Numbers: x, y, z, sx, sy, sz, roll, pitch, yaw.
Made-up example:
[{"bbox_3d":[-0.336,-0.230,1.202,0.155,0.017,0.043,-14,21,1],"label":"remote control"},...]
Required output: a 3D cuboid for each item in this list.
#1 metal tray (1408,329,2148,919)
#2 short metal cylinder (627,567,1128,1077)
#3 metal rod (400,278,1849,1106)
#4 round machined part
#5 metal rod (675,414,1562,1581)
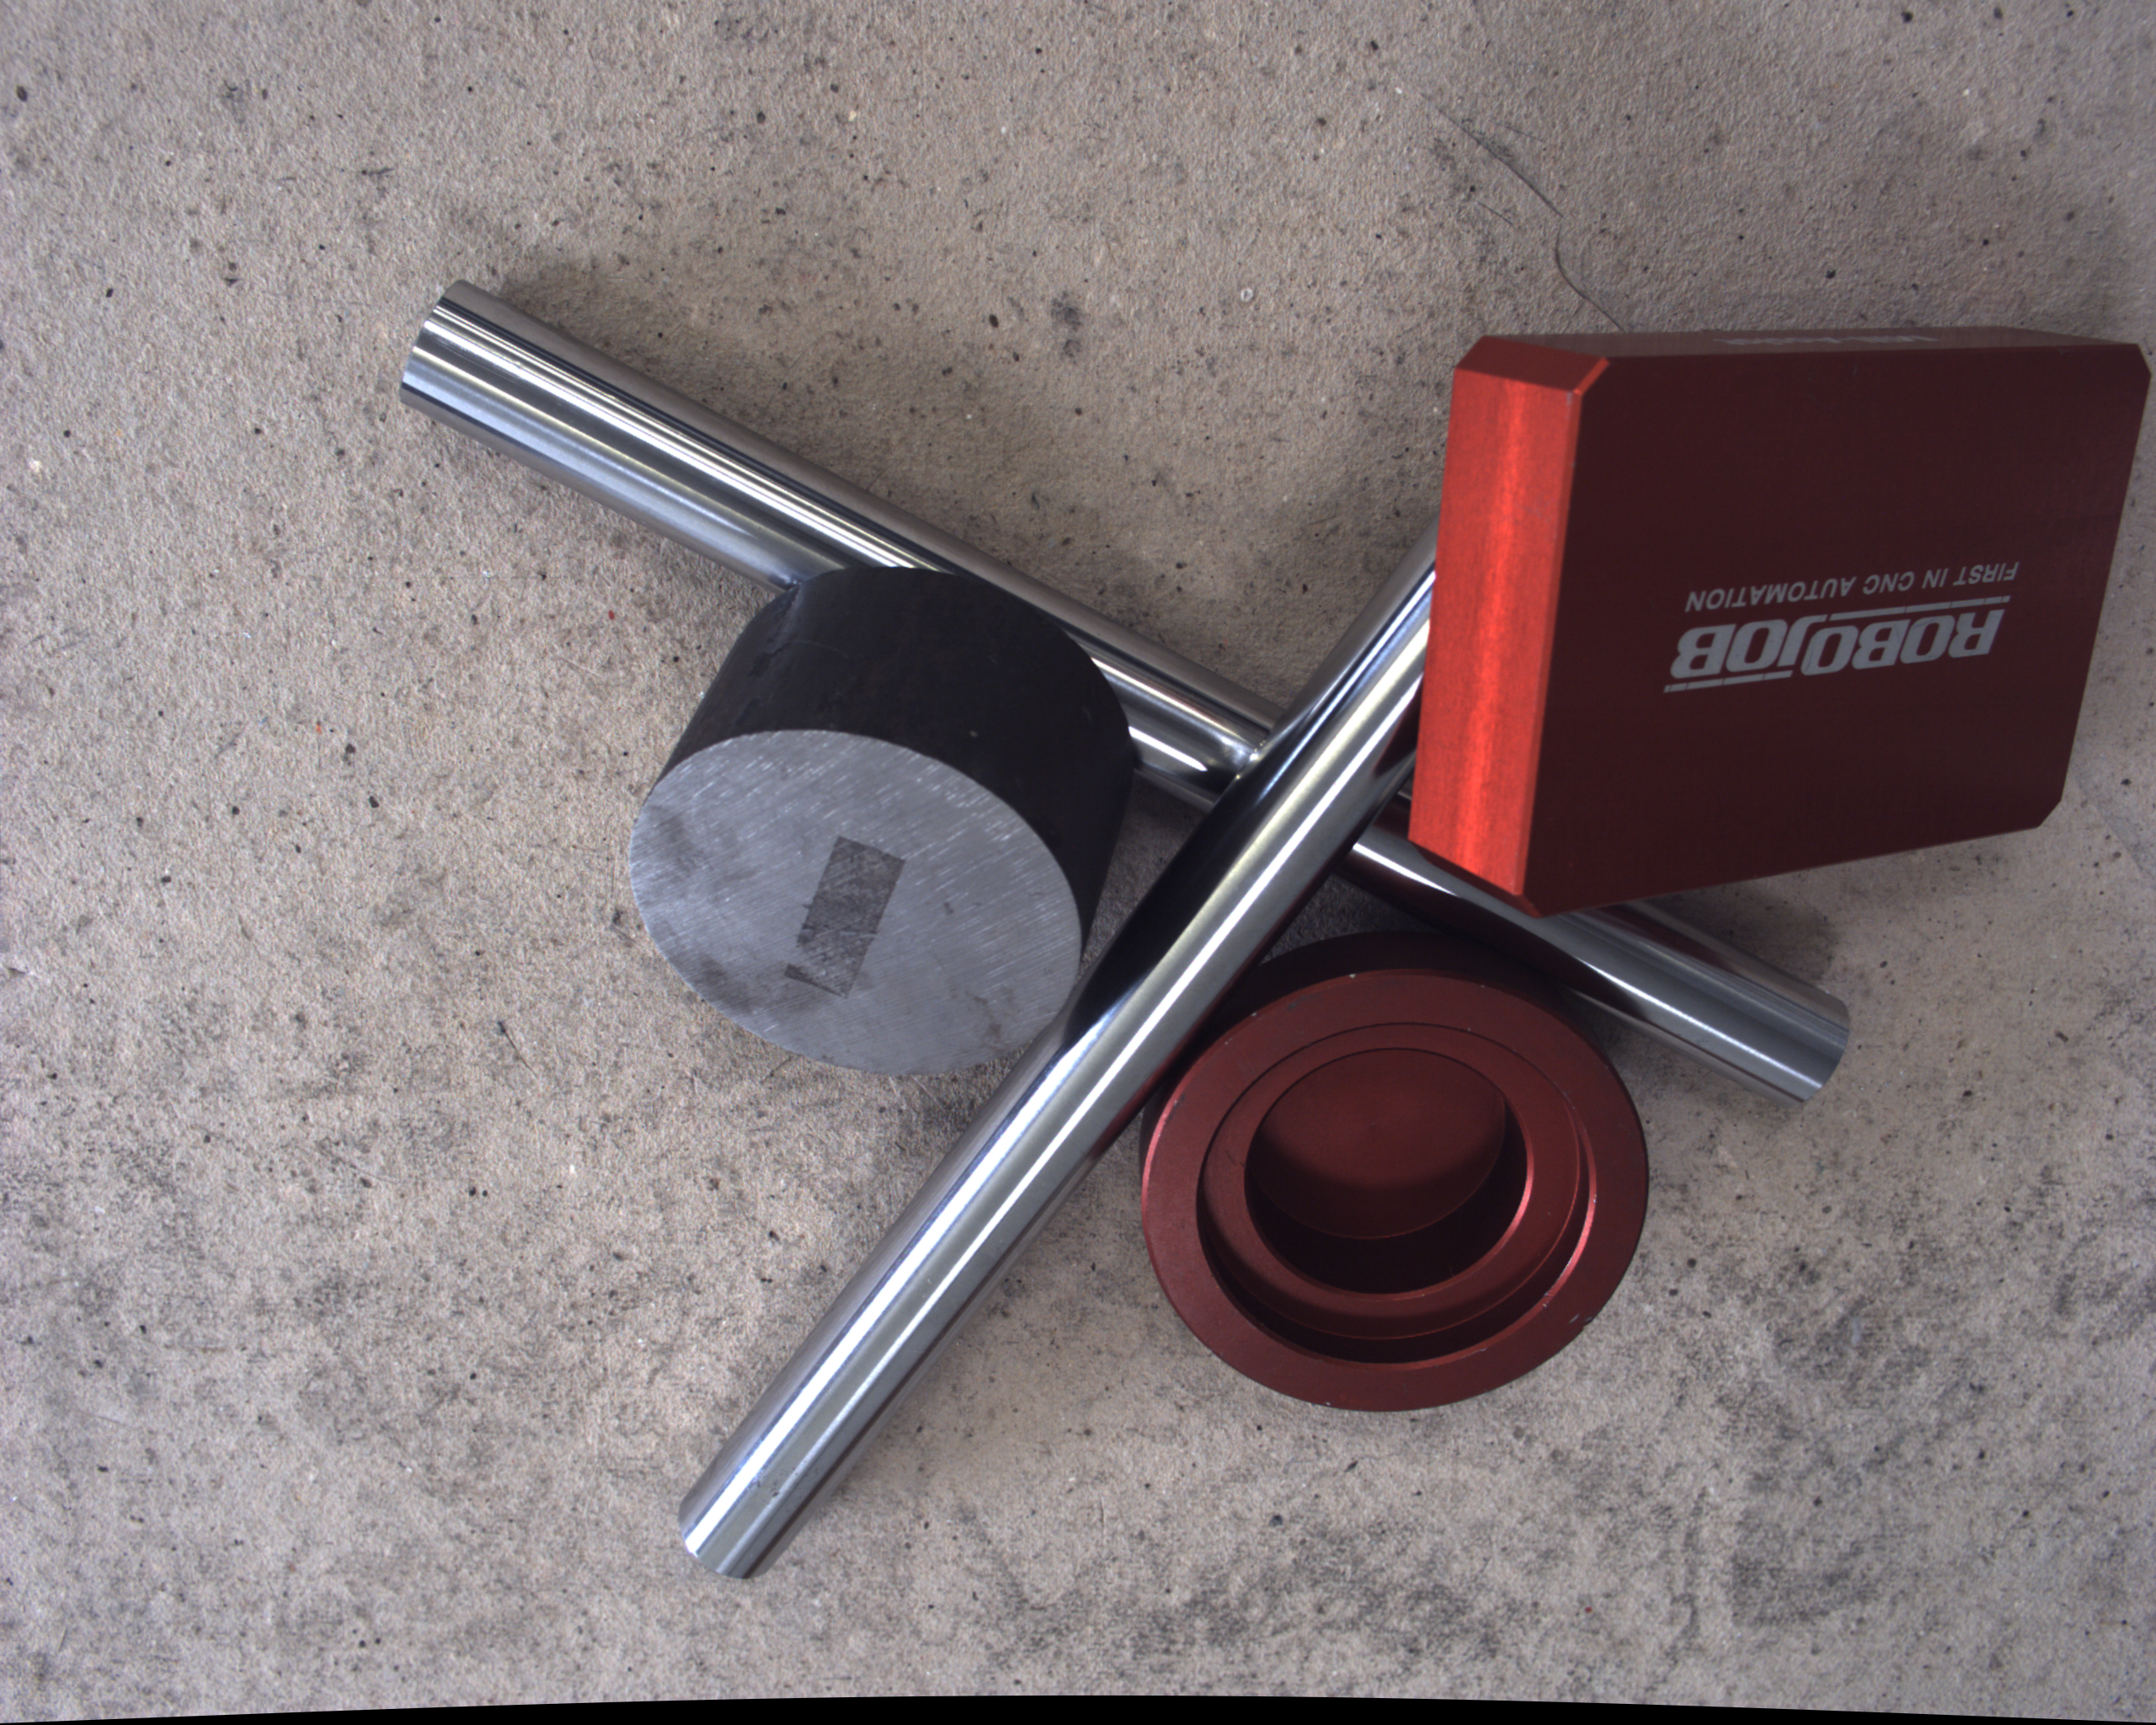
[{"bbox_3d":[0.123,-0.045,0.363,0.131,0.030,0.089,-8,113,-27],"label":"metal tray"},{"bbox_3d":[-0.035,-0.007,0.381,0.080,0.050,0.079,7,131,9],"label":"short metal cylinder"},{"bbox_3d":[0.017,-0.028,0.402,0.301,0.025,0.025,27,108,-10],"label":"metal rod"},{"bbox_3d":[0.061,0.059,0.424,0.099,0.042,0.097,0,110,0],"label":"round machined part"},{"bbox_3d":[0.003,0.039,0.407,0.025,0.025,0.298,32,113,-11],"label":"metal rod"}]
